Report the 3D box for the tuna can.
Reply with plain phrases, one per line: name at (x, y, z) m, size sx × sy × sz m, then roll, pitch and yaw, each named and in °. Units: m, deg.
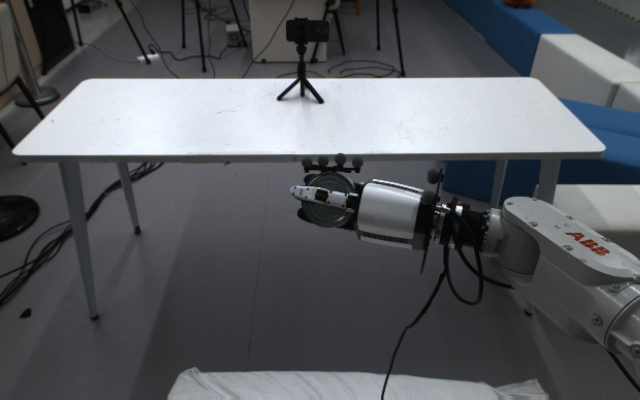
tuna can at (0.017, 0.000, 0.743) m, size 0.085 × 0.085 × 0.034 m, roll 12°, pitch -1°, yaw 14°
